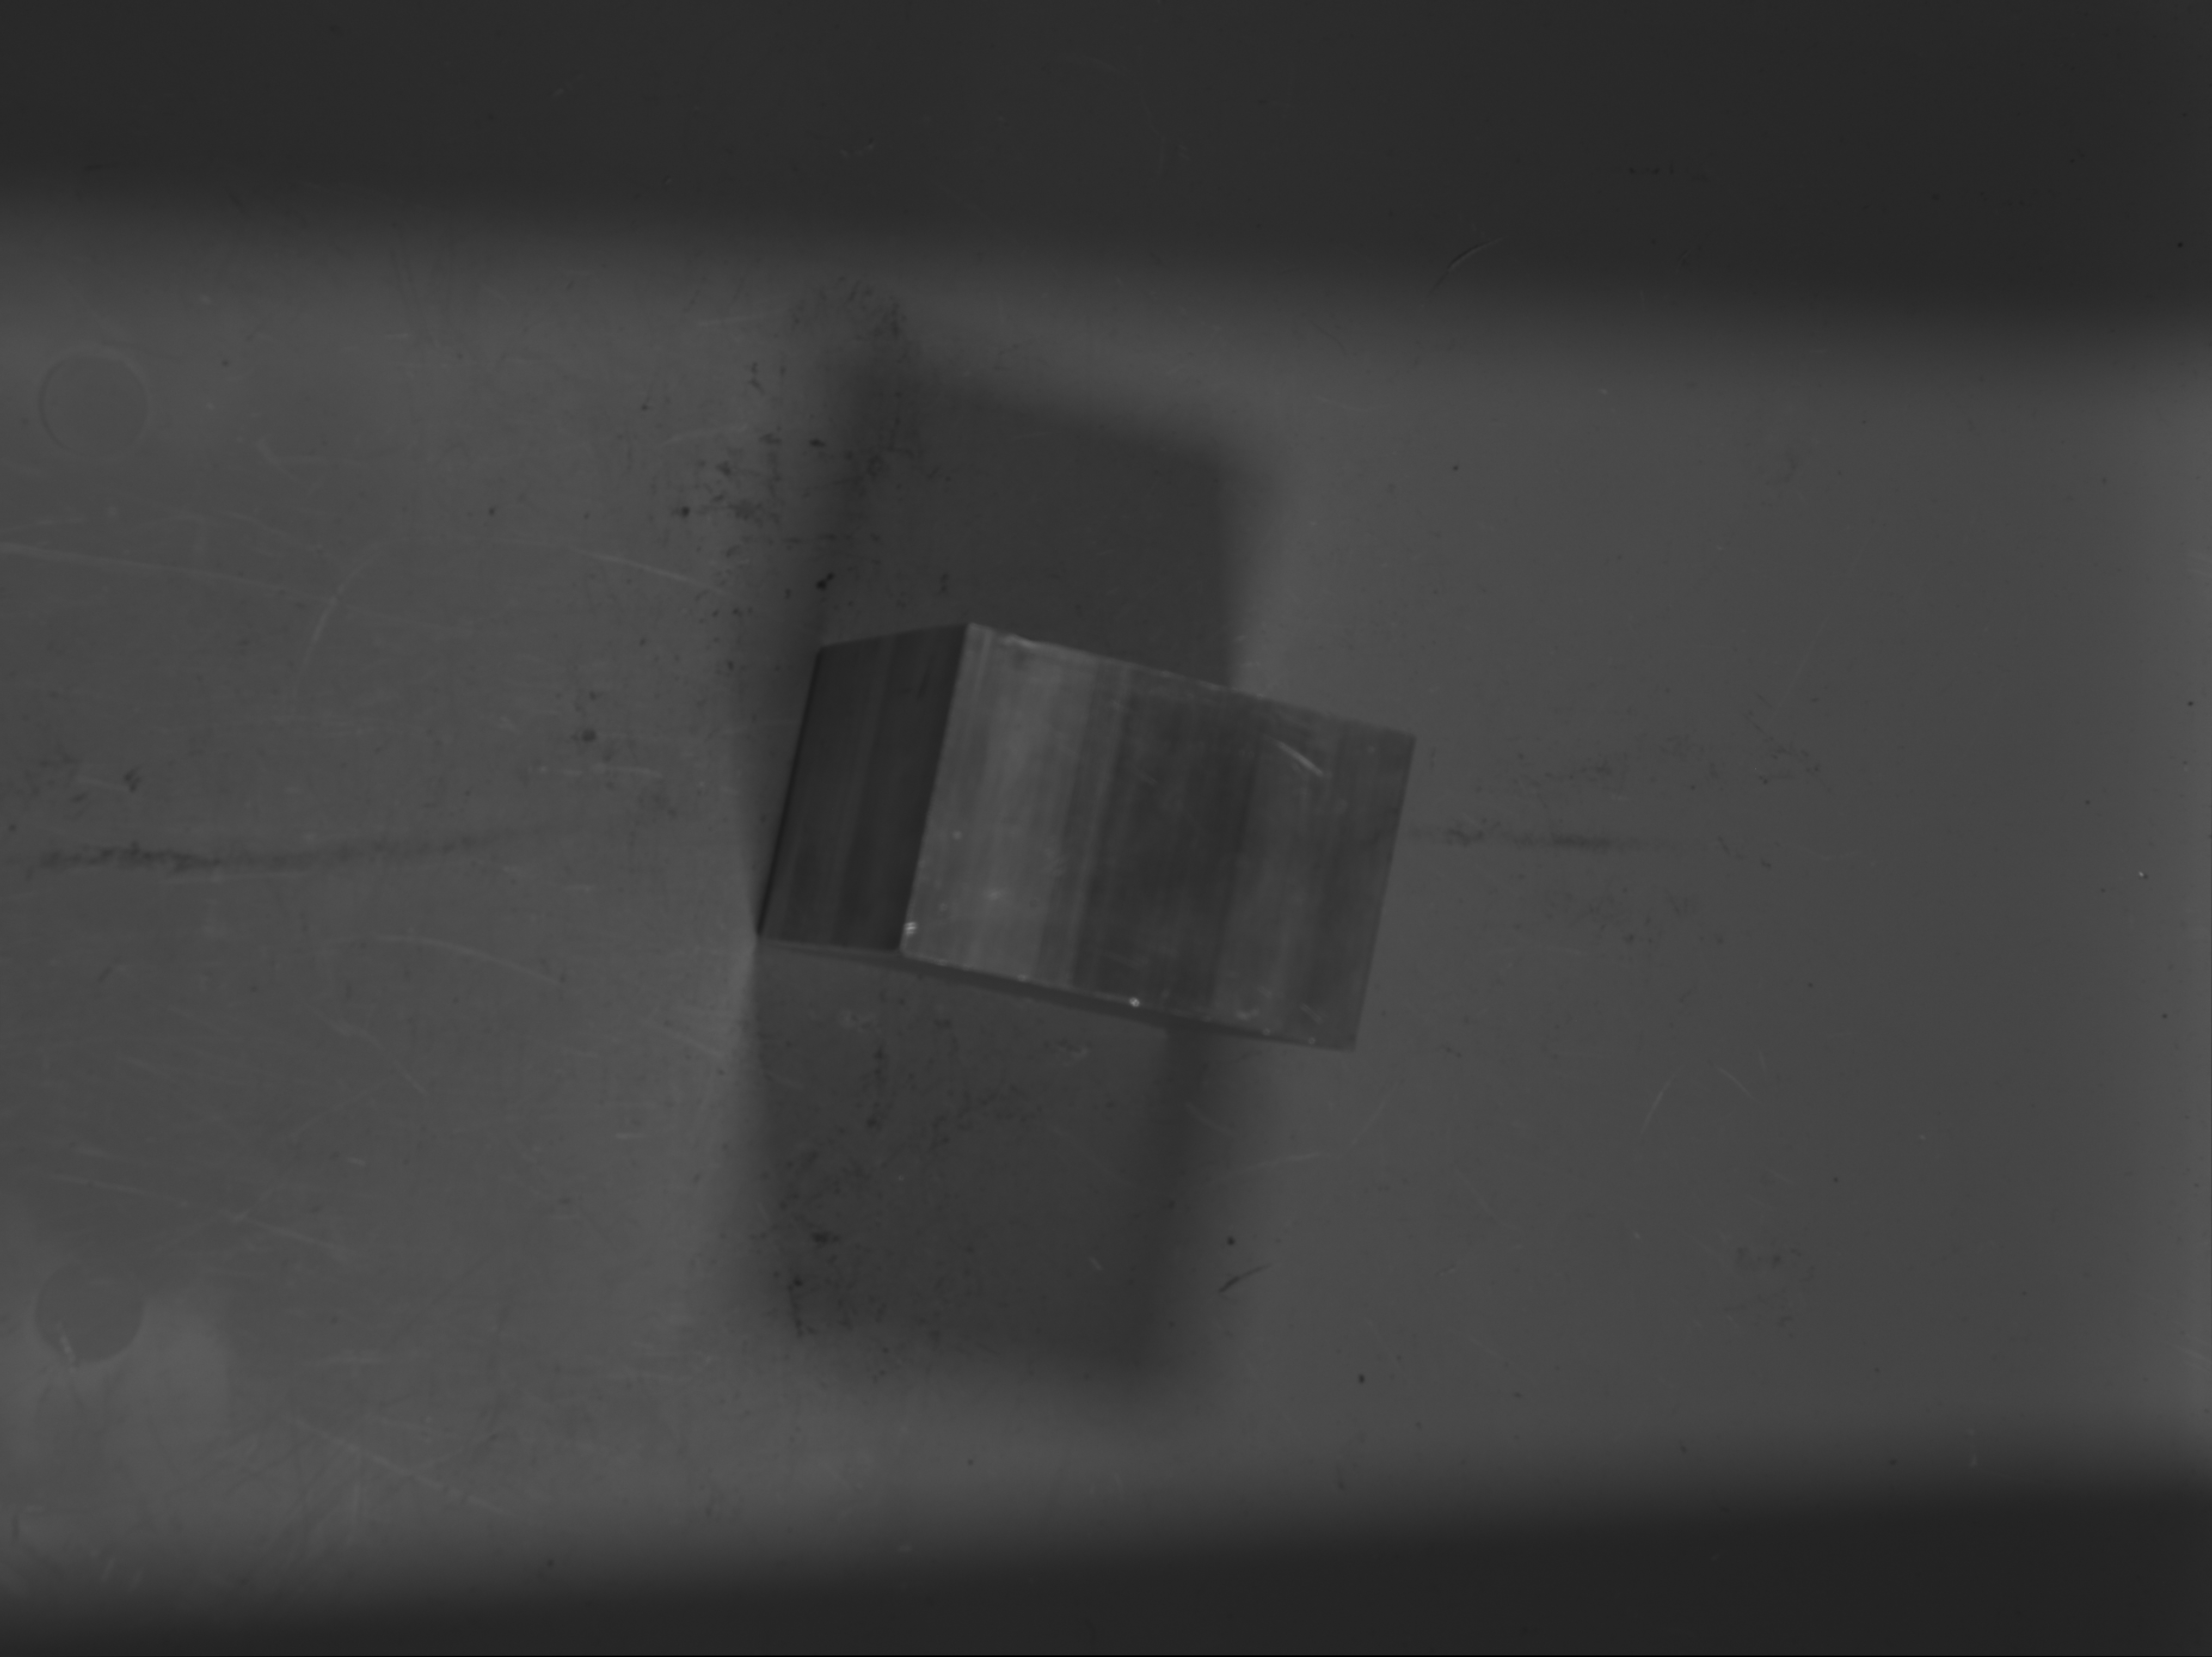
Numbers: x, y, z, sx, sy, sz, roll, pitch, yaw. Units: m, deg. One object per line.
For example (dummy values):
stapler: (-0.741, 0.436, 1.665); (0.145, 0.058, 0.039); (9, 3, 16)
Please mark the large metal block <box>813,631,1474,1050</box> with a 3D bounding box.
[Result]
large metal block: (0.004, 0.003, 0.614); (0.080, 0.080, 0.050); (13, 85, -19)
